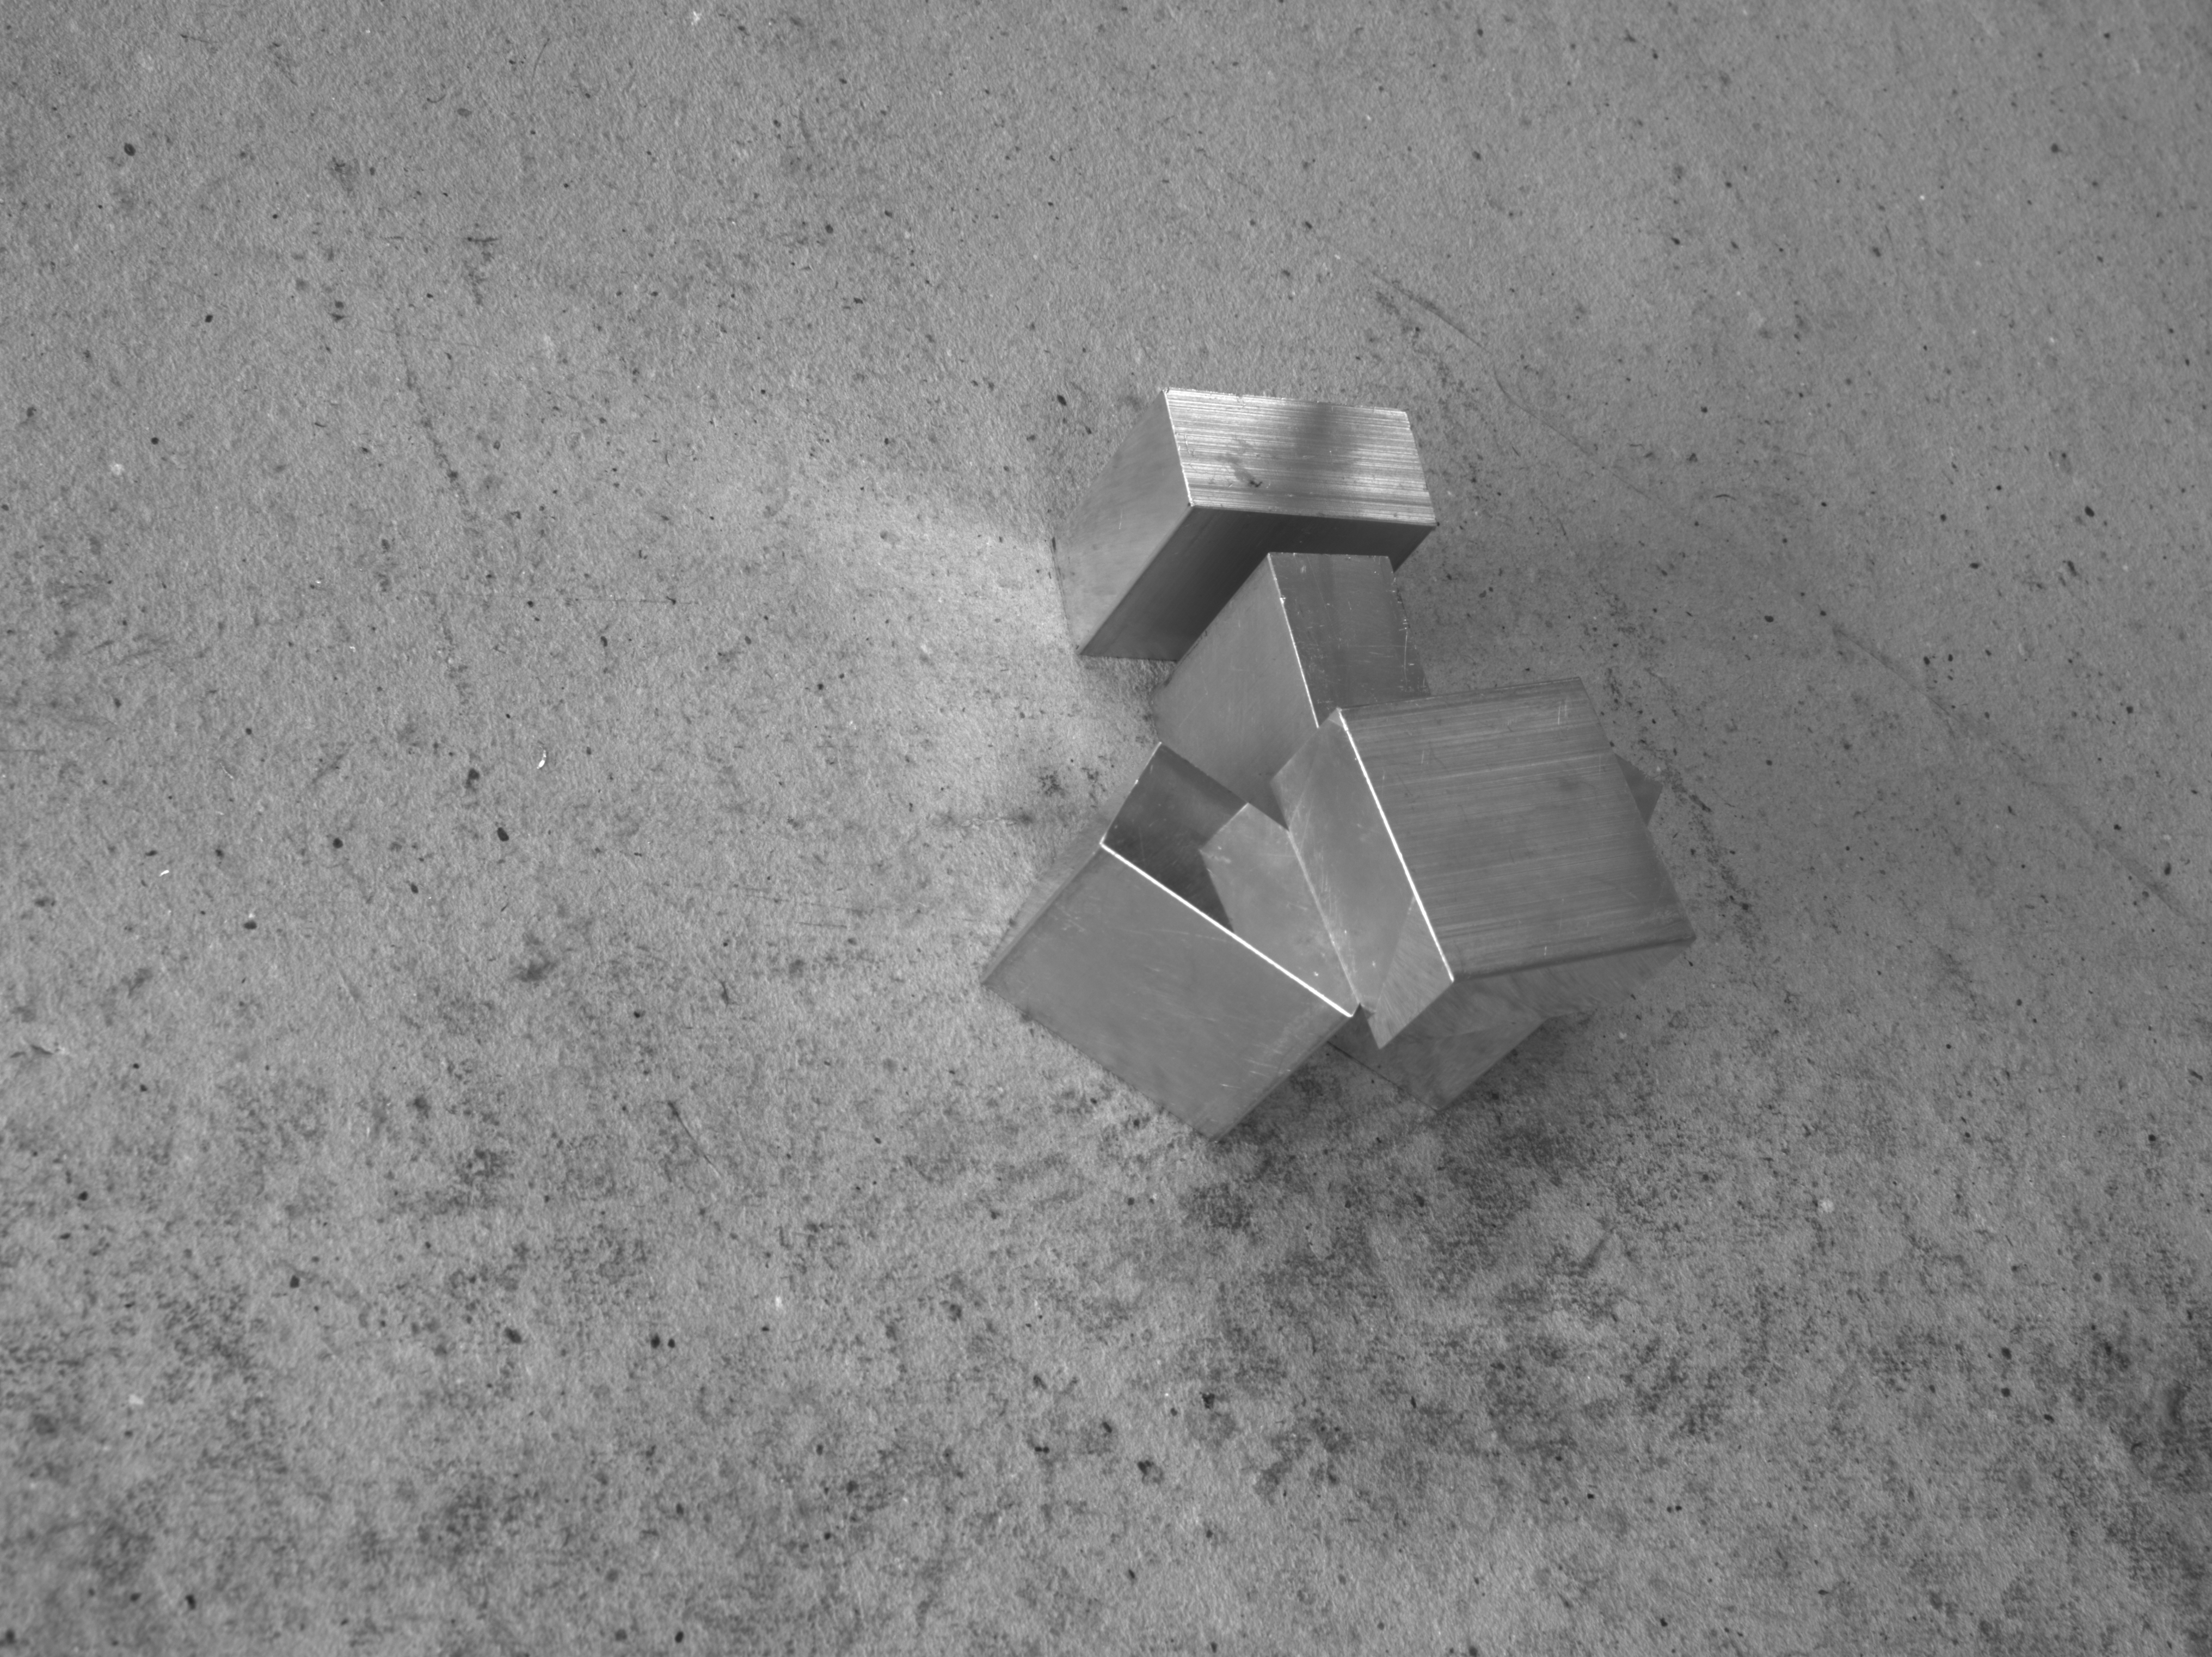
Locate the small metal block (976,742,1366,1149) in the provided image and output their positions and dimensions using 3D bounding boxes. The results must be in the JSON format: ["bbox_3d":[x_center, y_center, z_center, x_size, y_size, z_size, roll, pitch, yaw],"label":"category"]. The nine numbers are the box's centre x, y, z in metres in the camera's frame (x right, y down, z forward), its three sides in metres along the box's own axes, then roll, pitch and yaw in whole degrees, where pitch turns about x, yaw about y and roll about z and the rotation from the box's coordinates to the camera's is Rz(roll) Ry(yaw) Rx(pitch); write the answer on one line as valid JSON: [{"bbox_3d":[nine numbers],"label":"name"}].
[{"bbox_3d":[0.014,0.020,0.618,0.050,0.050,0.025,35,51,-6],"label":"small metal block"}]

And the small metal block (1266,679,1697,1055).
[{"bbox_3d":[0.061,0.006,0.606,0.050,0.025,0.050,-8,65,-31],"label":"small metal block"}]

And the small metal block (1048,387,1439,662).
[{"bbox_3d":[0.024,-0.053,0.670,0.050,0.050,0.025,2,60,-27],"label":"small metal block"}]

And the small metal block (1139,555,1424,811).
[{"bbox_3d":[0.033,-0.013,0.651,0.025,0.050,0.050,0,61,-29],"label":"small metal block"}]

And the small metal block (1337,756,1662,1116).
[{"bbox_3d":[0.068,0.015,0.652,0.025,0.050,0.050,32,52,-7],"label":"small metal block"}]
